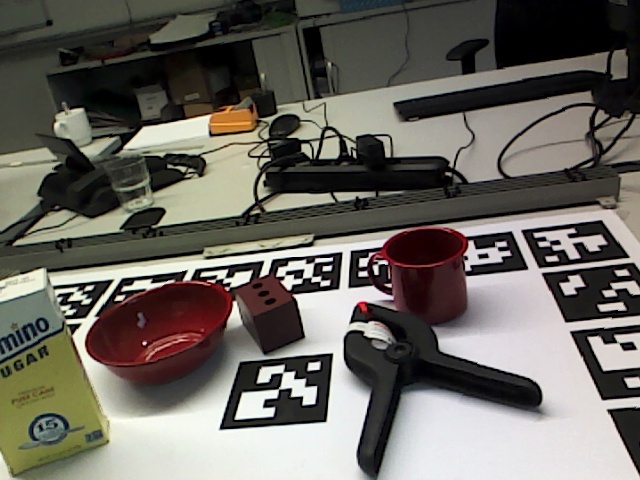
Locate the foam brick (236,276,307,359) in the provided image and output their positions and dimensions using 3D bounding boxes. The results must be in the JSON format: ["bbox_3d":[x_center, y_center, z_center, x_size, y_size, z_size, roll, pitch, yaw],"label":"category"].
[{"bbox_3d":[-0.057,0.088,0.705,0.052,0.051,0.078,-21,30,-16],"label":"foam brick"}]

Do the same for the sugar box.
[{"bbox_3d":[-0.265,0.128,0.560,0.092,0.176,0.045,-18,30,-15],"label":"sugar box"}]

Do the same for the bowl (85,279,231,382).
[{"bbox_3d":[-0.174,0.108,0.694,0.162,0.055,0.162,-8,28,4],"label":"bowl"}]

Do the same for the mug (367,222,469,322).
[{"bbox_3d":[0.108,0.035,0.694,0.118,0.081,0.093,9,33,28],"label":"mug"}]

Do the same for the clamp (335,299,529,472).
[{"bbox_3d":[0.072,0.116,0.594,0.165,0.036,0.204,-20,29,-12],"label":"clamp"}]
